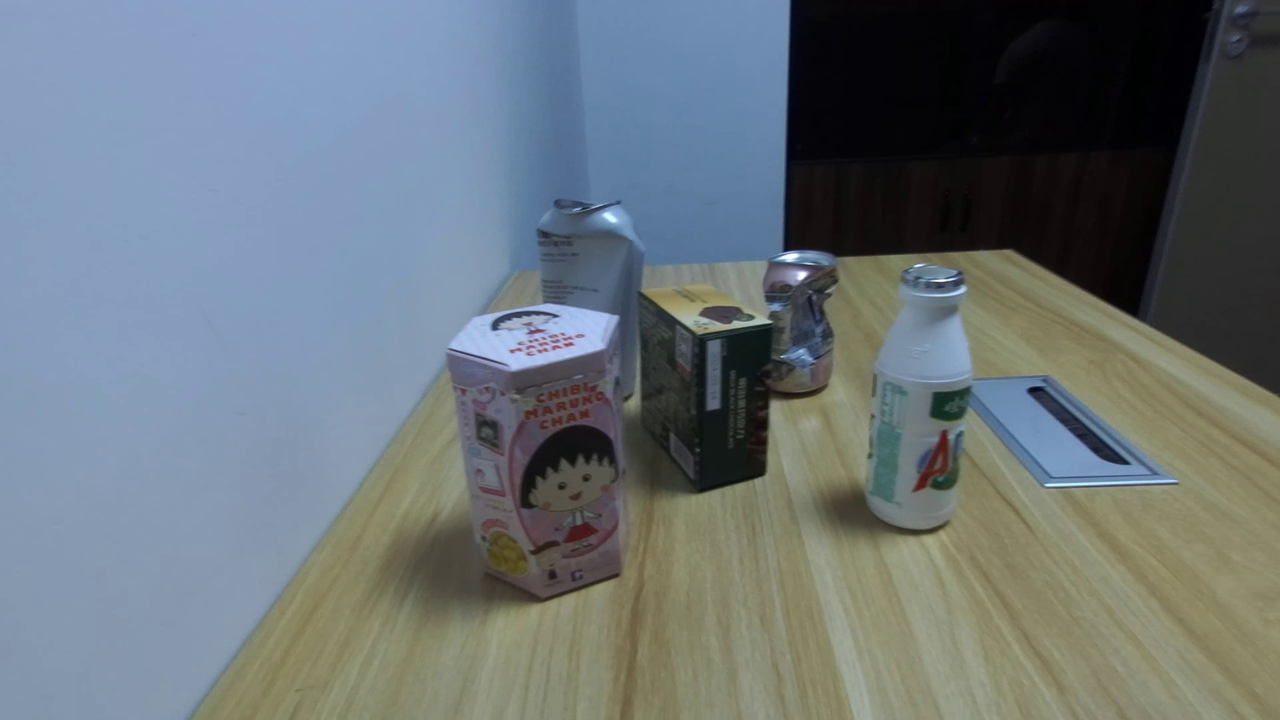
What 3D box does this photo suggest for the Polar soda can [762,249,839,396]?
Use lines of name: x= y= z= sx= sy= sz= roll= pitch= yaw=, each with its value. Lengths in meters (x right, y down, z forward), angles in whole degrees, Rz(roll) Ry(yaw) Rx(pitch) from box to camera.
Polar soda can: x=0.129 y=-0.031 z=0.579 sx=0.070 sy=0.114 sz=0.074 roll=0 pitch=26 yaw=-8

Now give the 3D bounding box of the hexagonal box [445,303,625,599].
hexagonal box: x=-0.049 y=0.047 z=0.381 sx=0.091 sy=0.136 sz=0.083 roll=-13 pitch=25 yaw=-22

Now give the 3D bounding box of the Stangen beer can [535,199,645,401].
Stangen beer can: x=-0.038 y=-0.047 z=0.571 sx=0.077 sy=0.162 sz=0.065 roll=-8 pitch=25 yaw=-13

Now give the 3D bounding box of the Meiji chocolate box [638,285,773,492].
Meiji chocolate box: x=0.041 y=0.014 z=0.486 sx=0.056 sy=0.109 sz=0.109 roll=-9 pitch=23 yaw=-18

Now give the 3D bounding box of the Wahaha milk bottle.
Wahaha milk bottle: x=0.159 y=0.028 z=0.401 sx=0.053 sy=0.137 sz=0.053 roll=-2 pitch=22 yaw=1
